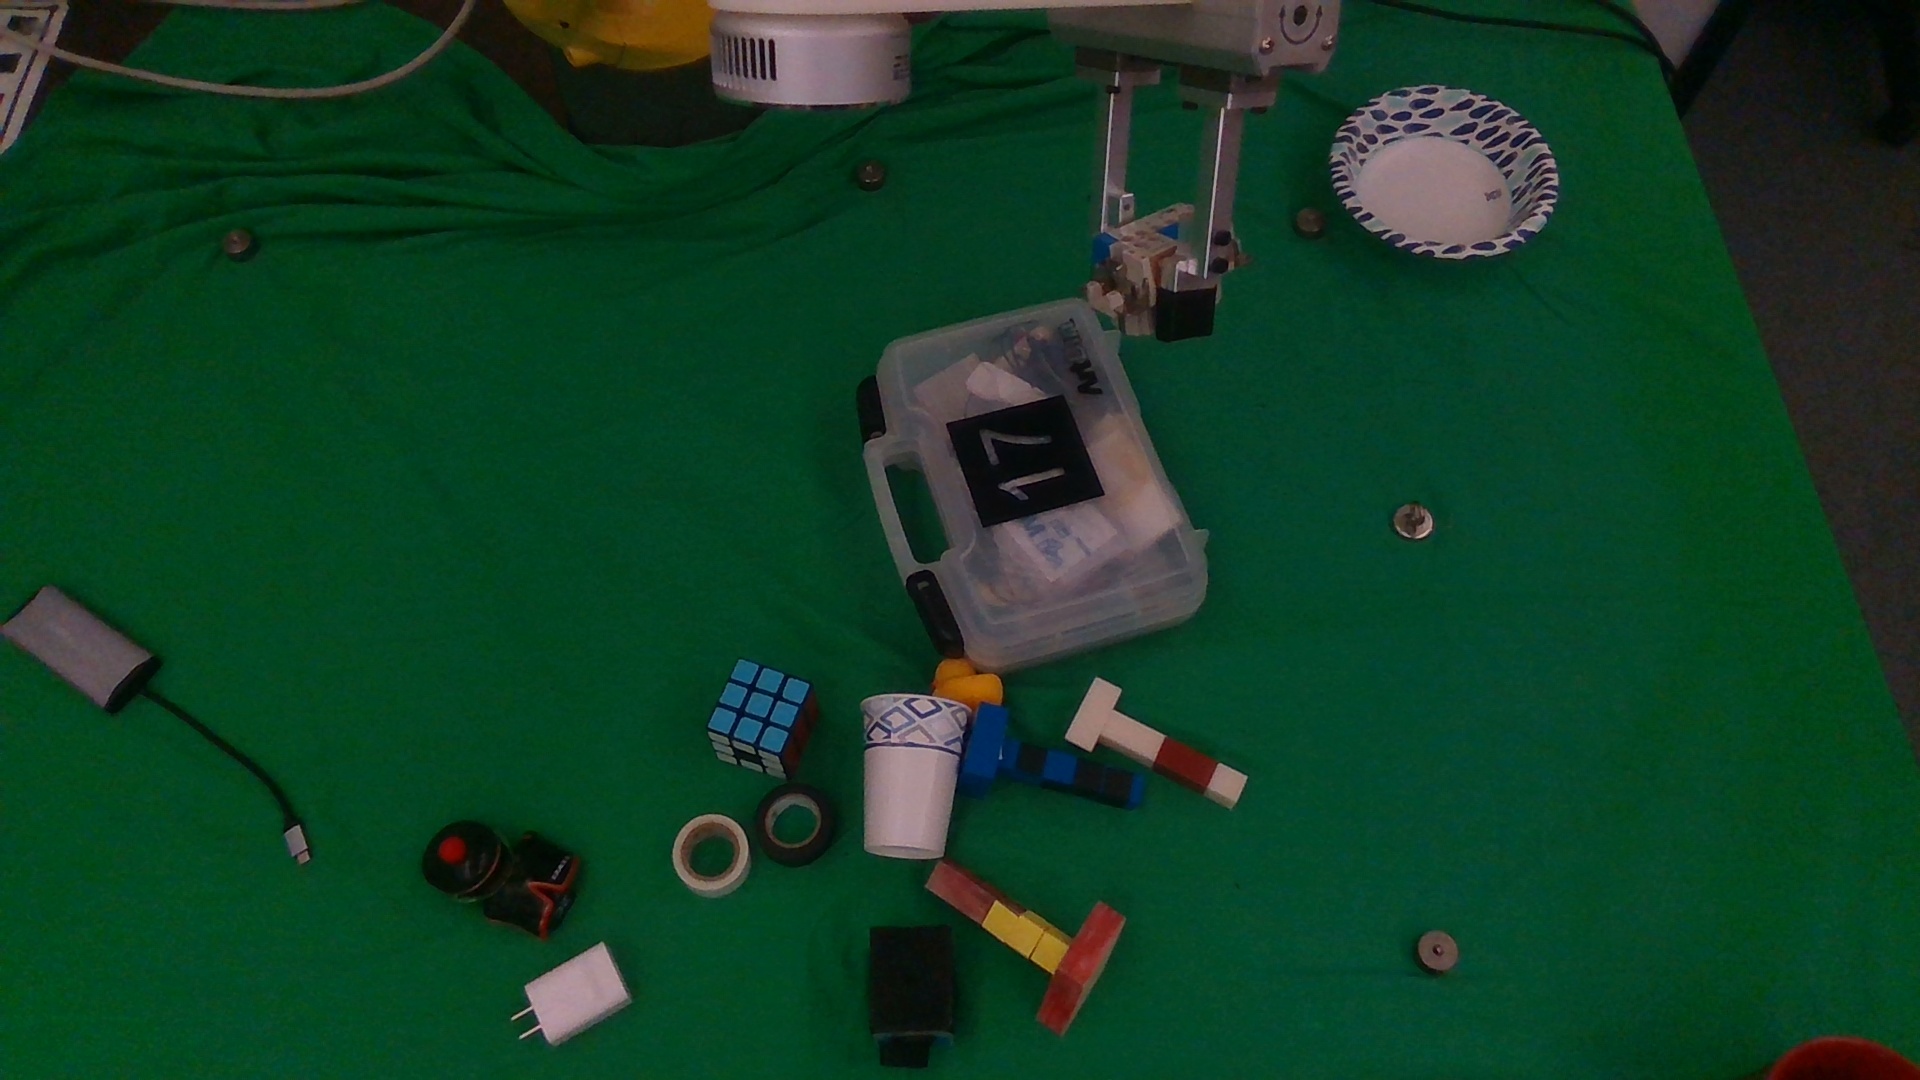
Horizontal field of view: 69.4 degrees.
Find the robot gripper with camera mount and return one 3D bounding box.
[{"bbox_3d":[0.017,-0.139,0.477,0.193,0.158,0.119,-17,27,-28],"label":"robot gripper with camera mount"}]

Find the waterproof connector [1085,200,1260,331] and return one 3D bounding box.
[{"bbox_3d":[0.083,-0.106,0.541,0.065,0.037,0.035,-27,36,-23],"label":"waterproof connector"}]
